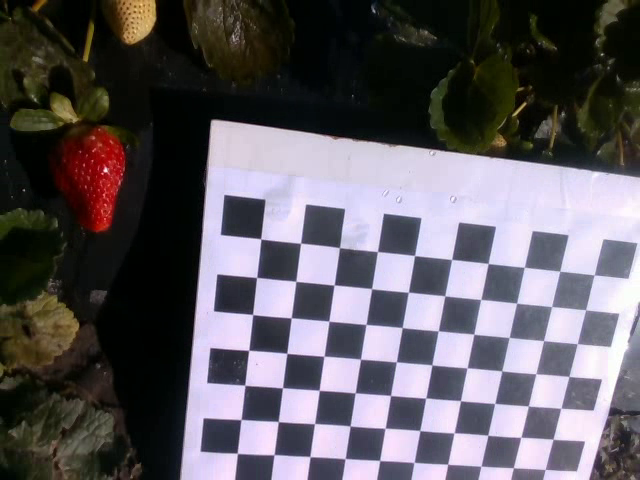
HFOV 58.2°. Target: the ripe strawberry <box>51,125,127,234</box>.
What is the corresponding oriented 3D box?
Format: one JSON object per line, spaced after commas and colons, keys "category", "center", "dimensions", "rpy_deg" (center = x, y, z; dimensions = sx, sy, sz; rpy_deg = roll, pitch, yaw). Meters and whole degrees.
{"category": "ripe strawberry", "center": [-0.129, -0.033, 0.321], "dimensions": [0.048, 0.069, 0.040], "rpy_deg": [-12, 7, -3]}
